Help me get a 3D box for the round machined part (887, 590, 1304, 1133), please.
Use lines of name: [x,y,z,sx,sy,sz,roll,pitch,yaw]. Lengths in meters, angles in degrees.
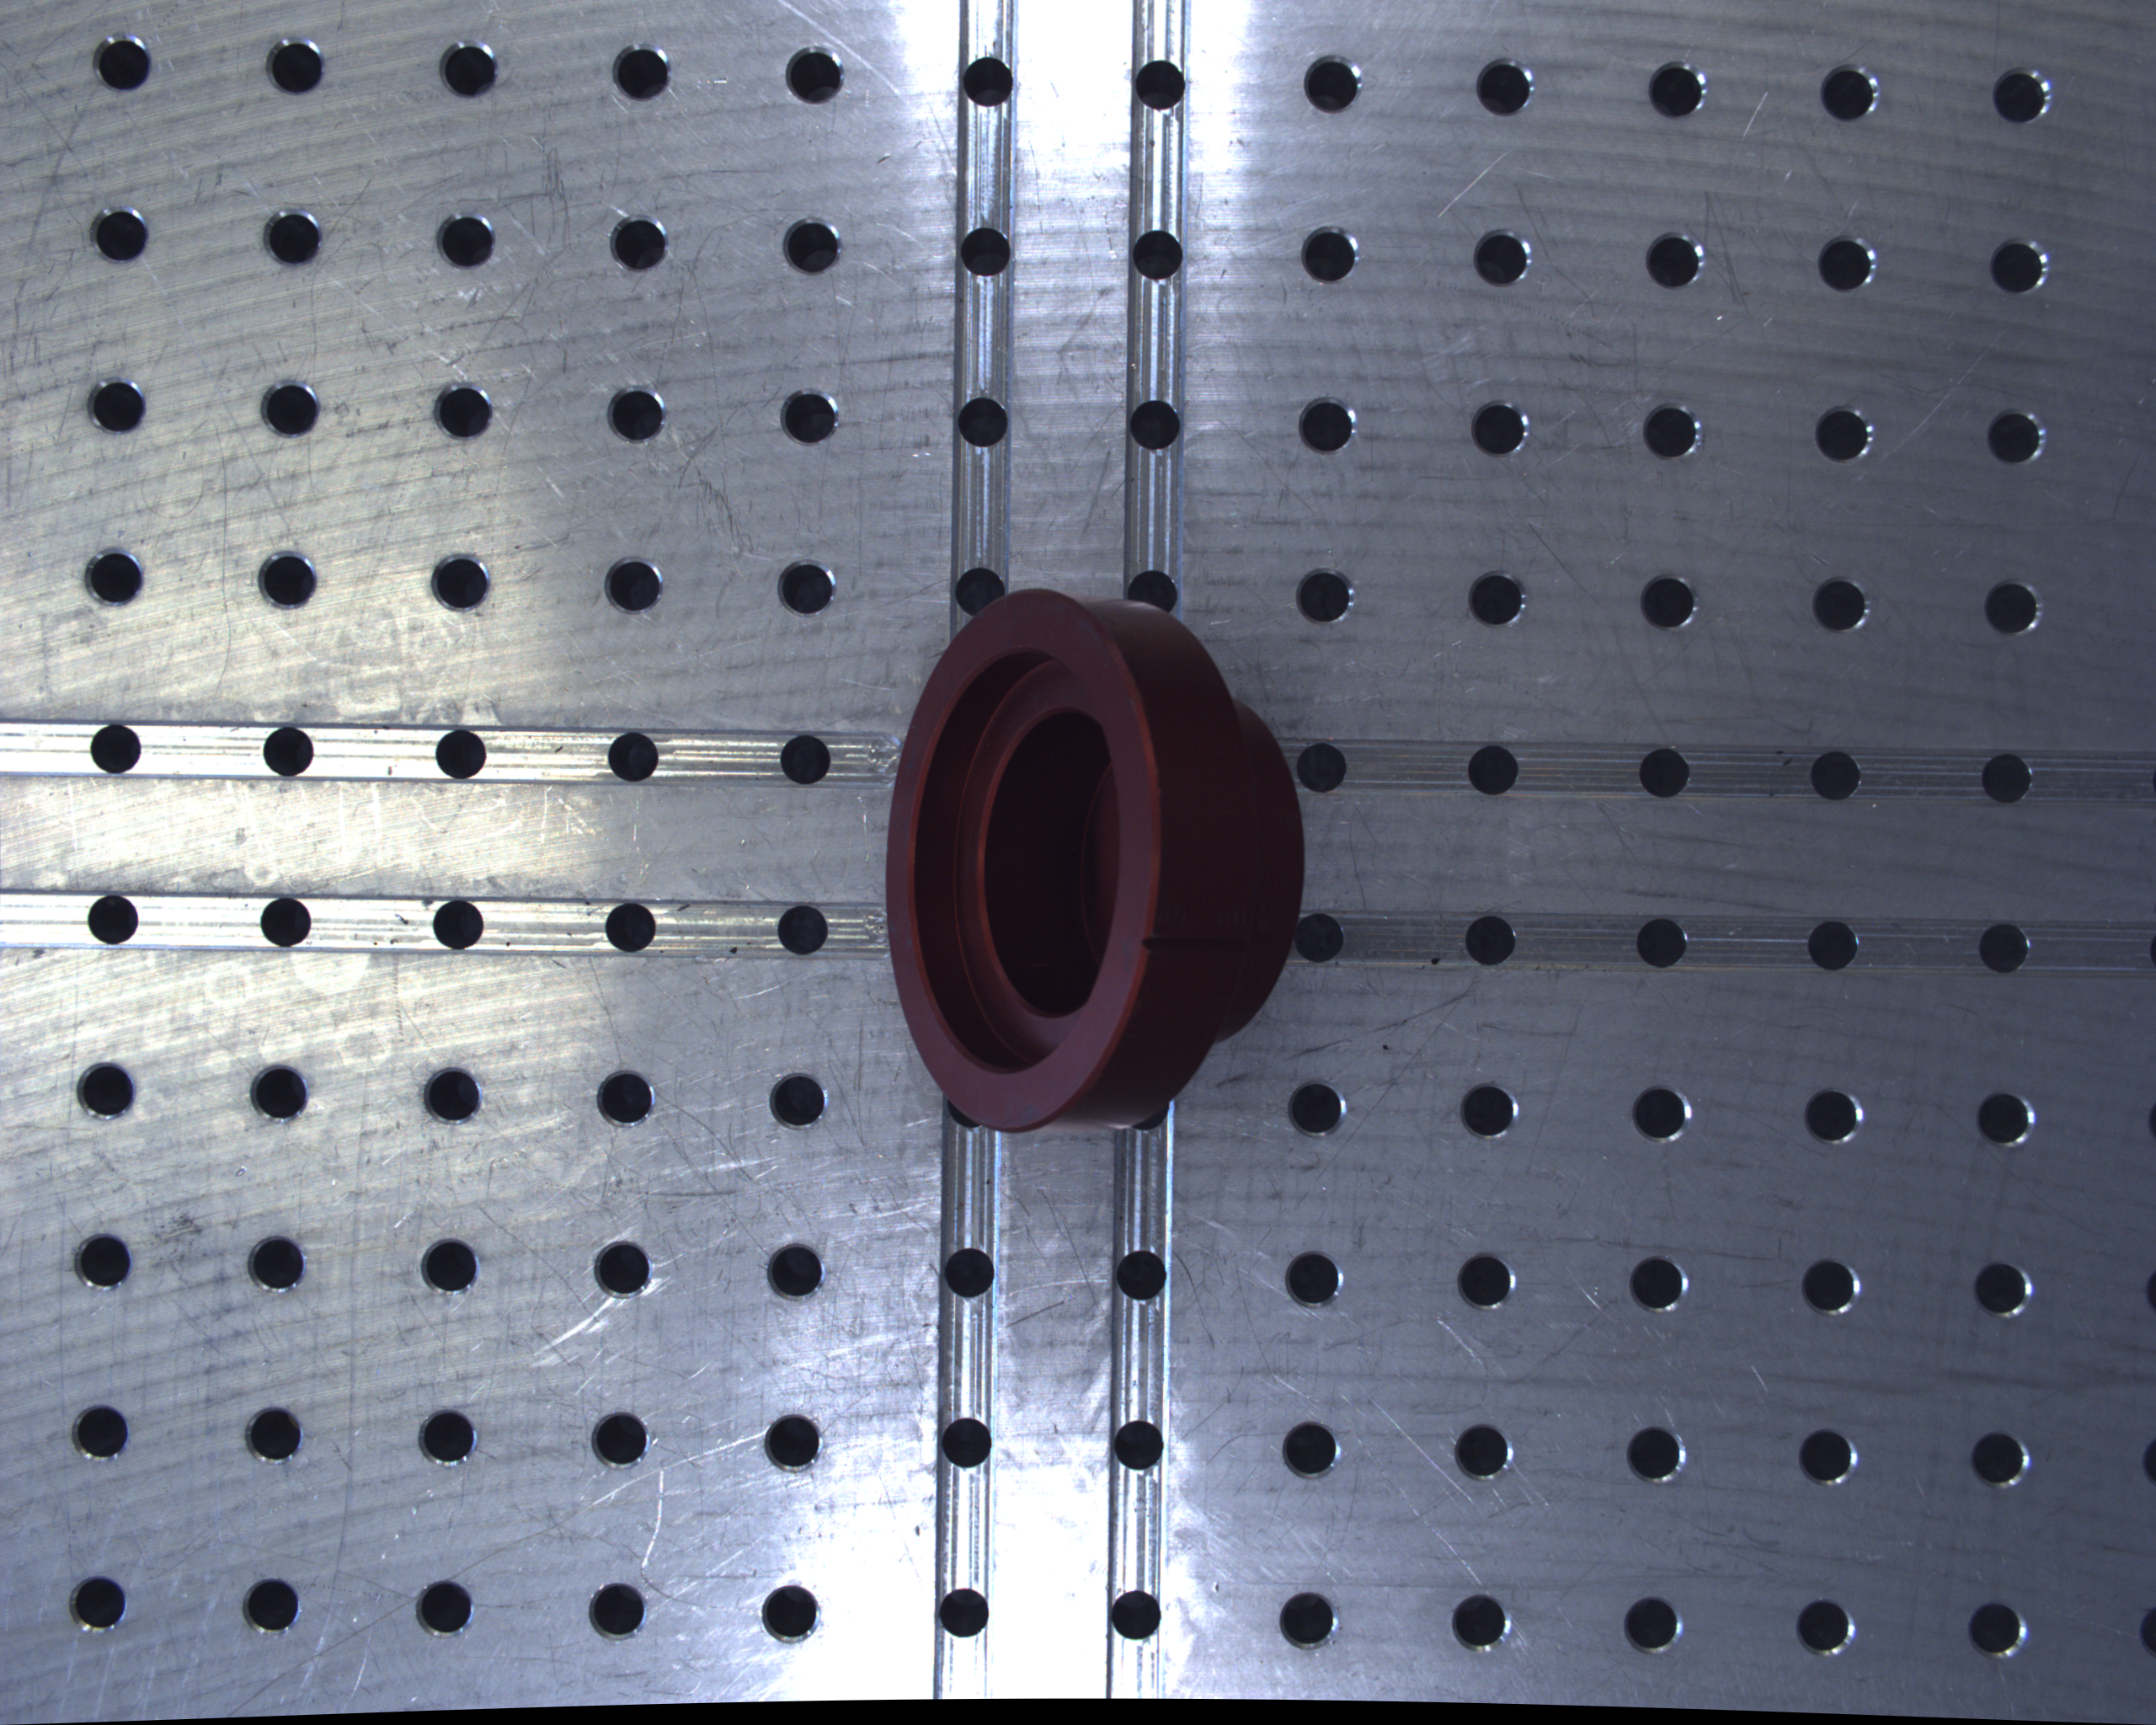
round machined part: [0.005,0.000,0.386,0.042,0.098,0.097,3,90,-31]
